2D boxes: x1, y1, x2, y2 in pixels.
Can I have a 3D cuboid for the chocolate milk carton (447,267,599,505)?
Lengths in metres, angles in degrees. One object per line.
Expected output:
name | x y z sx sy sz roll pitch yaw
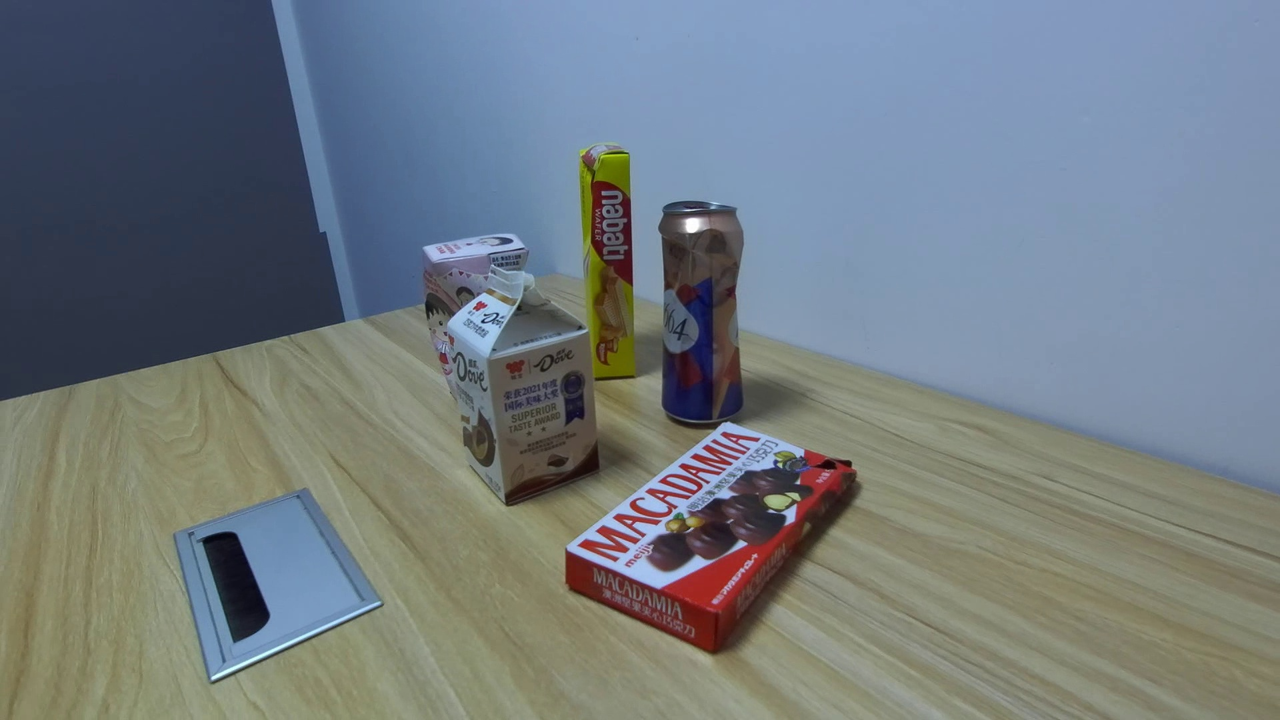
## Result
chocolate milk carton | -0.079 0.008 0.475 0.074 0.148 0.075 -16 26 -29

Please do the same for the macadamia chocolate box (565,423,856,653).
macadamia chocolate box | 0.053 0.089 0.416 0.102 0.027 0.187 13 27 32

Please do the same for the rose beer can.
rose beer can | 0.049 -0.035 0.540 0.065 0.167 0.075 -2 19 -2

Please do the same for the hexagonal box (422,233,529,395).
hexagonal box | -0.137 -0.037 0.624 0.088 0.135 0.093 9 25 28

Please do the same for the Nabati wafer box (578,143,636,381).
Nabati wafer box | -0.030 -0.089 0.648 0.042 0.203 0.096 -4 22 -5
